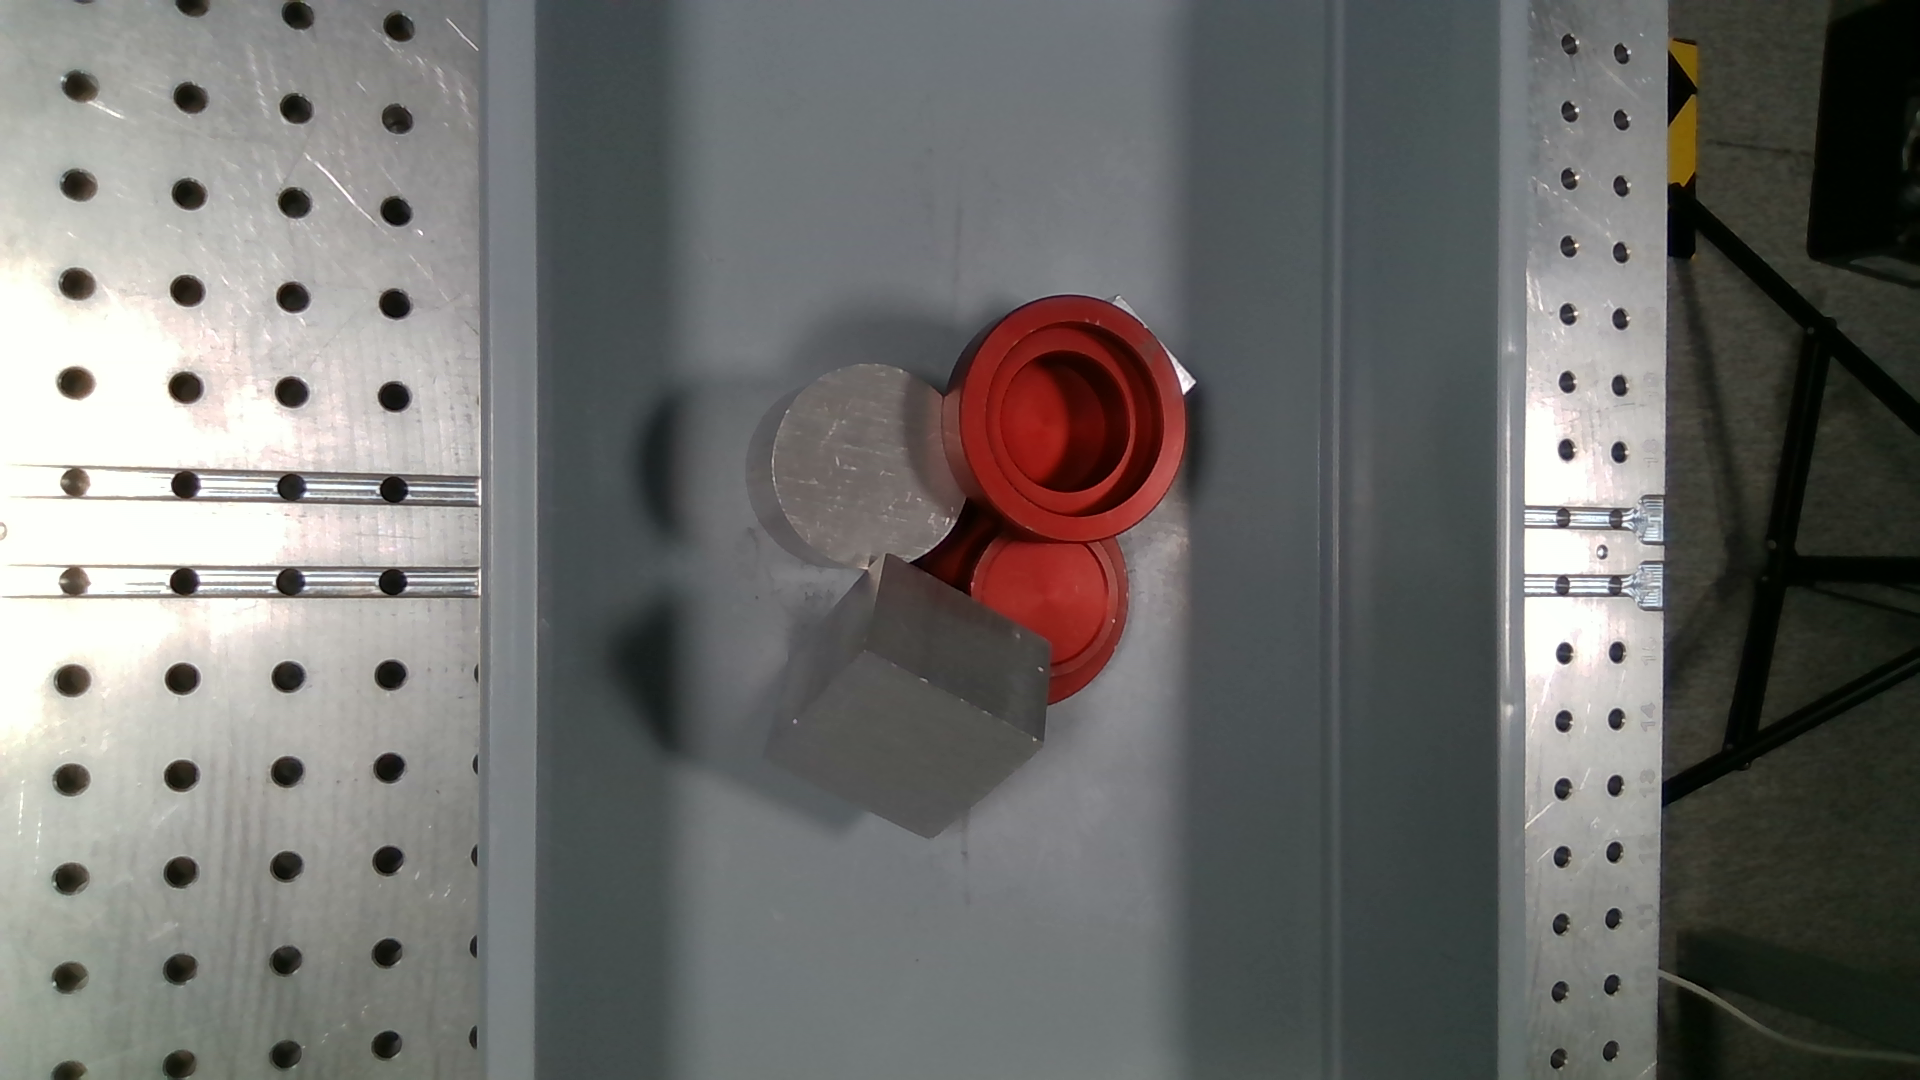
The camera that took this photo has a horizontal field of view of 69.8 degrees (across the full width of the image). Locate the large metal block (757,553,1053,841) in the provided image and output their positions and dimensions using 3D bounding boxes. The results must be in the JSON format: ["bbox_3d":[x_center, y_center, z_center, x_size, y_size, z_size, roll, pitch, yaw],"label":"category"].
[{"bbox_3d":[-0.021,0.064,0.541,0.080,0.080,0.050,30,39,-19],"label":"large metal block"}]

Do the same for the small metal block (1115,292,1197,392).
[{"bbox_3d":[0.067,-0.076,0.595,0.050,0.050,0.025,46,76,-14],"label":"small metal block"}]

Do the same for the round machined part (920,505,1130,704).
[{"bbox_3d":[0.029,0.024,0.584,0.098,0.042,0.098,0,90,-20],"label":"round machined part"}]

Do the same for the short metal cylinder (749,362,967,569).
[{"bbox_3d":[-0.042,-0.029,0.556,0.080,0.050,0.080,0,90,-20],"label":"short metal cylinder"}]

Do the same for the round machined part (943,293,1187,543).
[{"bbox_3d":[0.039,-0.048,0.559,0.098,0.042,0.098,0,90,-20],"label":"round machined part"}]
